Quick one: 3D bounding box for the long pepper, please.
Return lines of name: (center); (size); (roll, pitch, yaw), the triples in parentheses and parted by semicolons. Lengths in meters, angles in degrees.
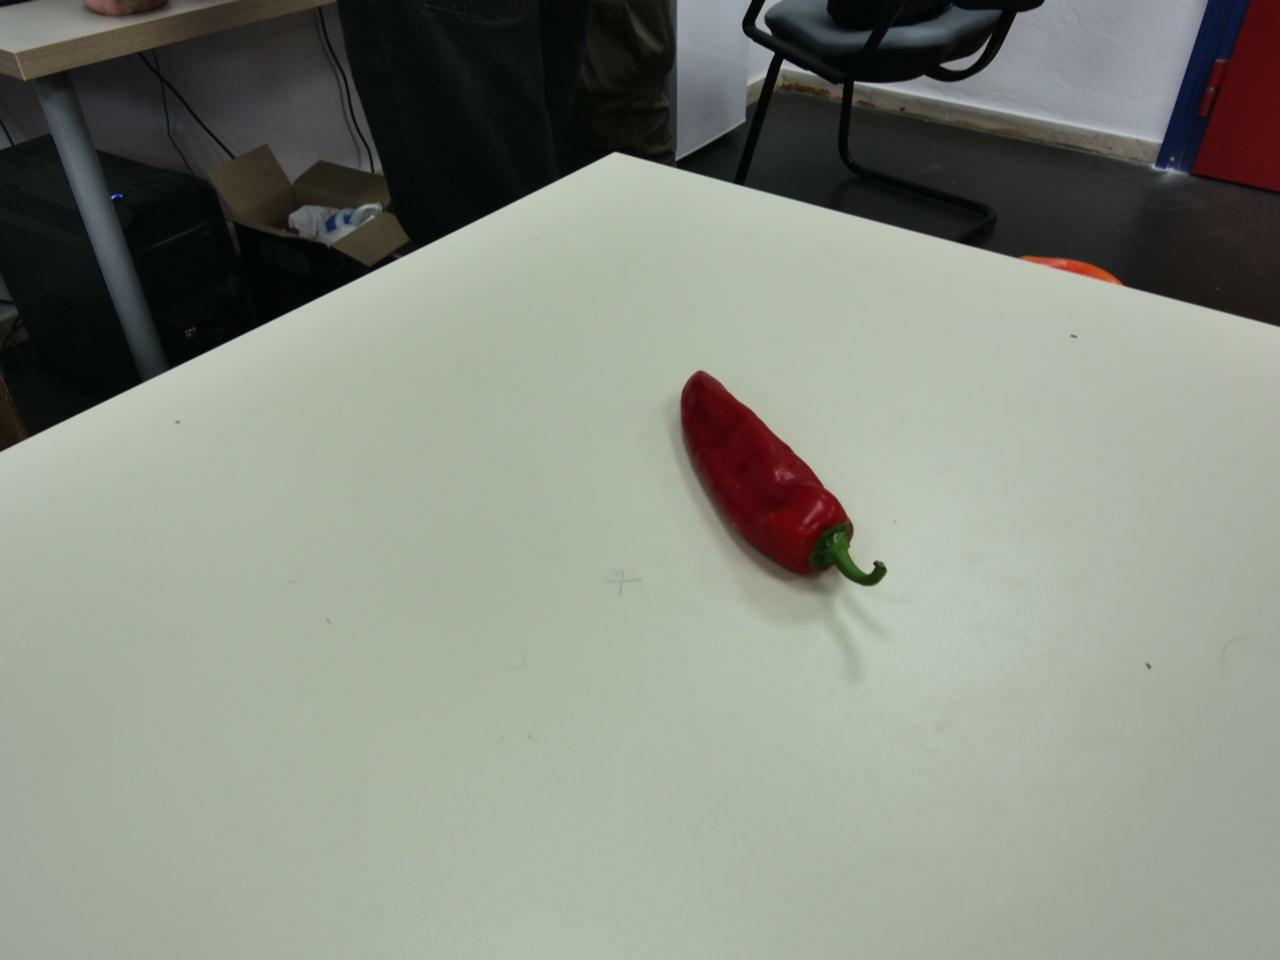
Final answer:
long pepper: (0.063, -0.004, 0.531); (0.050, 0.043, 0.211); (-13, 39, -16)
